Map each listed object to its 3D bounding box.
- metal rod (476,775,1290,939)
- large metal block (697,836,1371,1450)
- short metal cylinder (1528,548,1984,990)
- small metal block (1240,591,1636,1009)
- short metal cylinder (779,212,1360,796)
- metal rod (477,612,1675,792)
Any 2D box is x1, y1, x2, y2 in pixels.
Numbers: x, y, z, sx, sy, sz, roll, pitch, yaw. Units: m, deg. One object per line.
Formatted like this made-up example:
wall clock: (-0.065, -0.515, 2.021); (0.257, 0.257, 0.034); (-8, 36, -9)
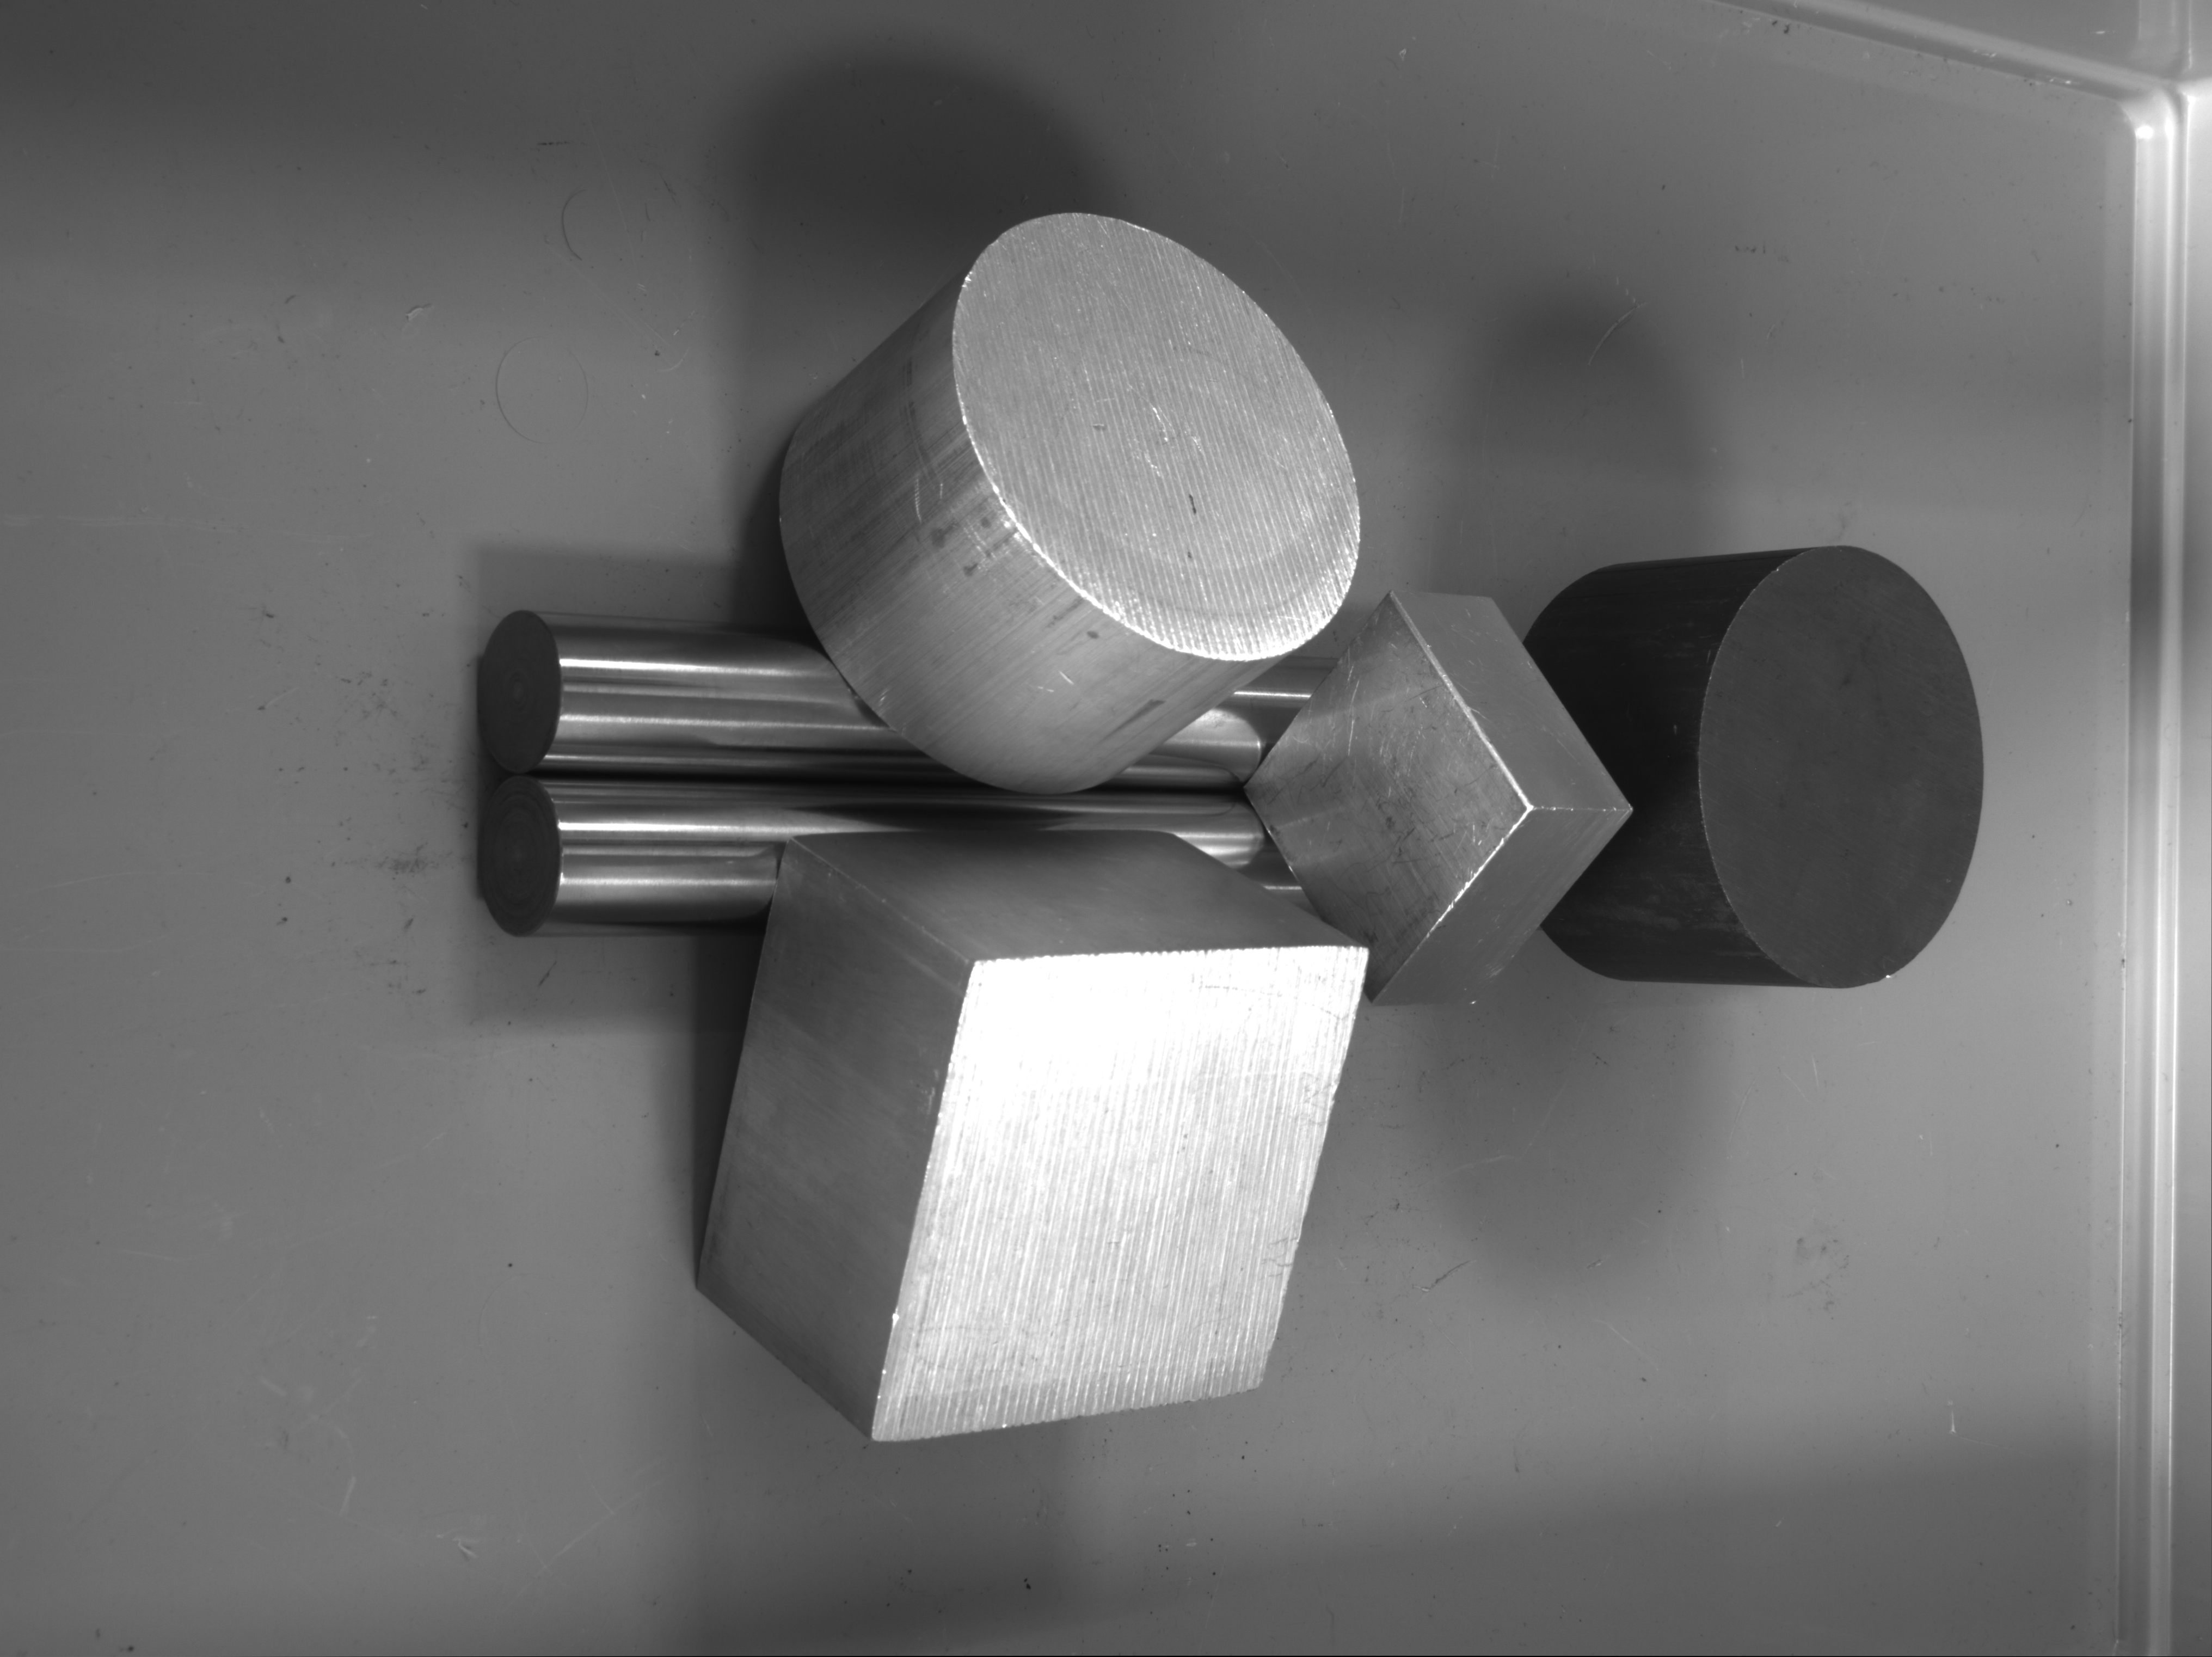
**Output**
metal rod: (0.026, 0.006, 0.657); (0.301, 0.025, 0.025); (1, 89, -40)
large metal block: (-0.012, 0.048, 0.591); (0.080, 0.050, 0.080); (-1, 111, -40)
short metal cylinder: (0.118, -0.011, 0.685); (0.080, 0.050, 0.080); (0, 90, -40)
small metal block: (0.056, -0.005, 0.629); (0.025, 0.050, 0.050); (1, 47, -40)
short metal cylinder: (-0.006, -0.052, 0.596); (0.080, 0.050, 0.080); (20, 54, -30)
metal rod: (0.026, -0.019, 0.657); (0.301, 0.025, 0.025); (1, 89, -40)
